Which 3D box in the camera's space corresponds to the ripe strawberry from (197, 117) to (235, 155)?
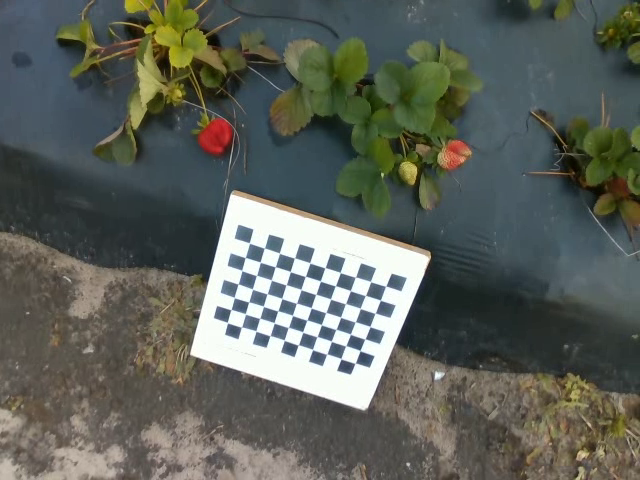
[{"bbox_3d":[-0.040,-0.038,0.231,0.013,0.015,0.017,15,-56,-50],"label":"ripe strawberry"}]
